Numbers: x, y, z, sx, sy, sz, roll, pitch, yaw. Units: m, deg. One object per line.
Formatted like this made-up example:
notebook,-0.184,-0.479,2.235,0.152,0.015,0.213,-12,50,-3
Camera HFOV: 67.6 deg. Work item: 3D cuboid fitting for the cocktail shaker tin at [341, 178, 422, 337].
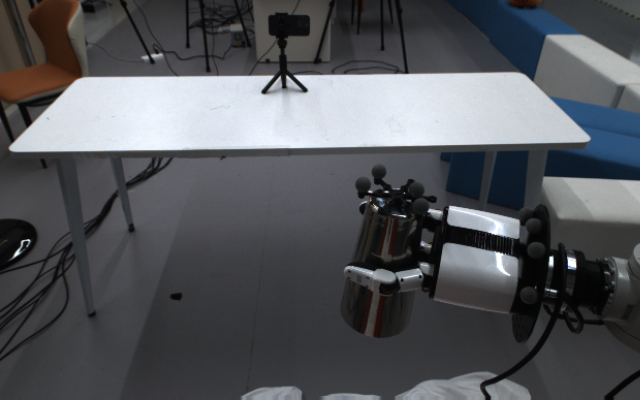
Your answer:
cocktail shaker tin,0.081,0.073,0.592,0.093,0.170,0.093,4,32,-2
